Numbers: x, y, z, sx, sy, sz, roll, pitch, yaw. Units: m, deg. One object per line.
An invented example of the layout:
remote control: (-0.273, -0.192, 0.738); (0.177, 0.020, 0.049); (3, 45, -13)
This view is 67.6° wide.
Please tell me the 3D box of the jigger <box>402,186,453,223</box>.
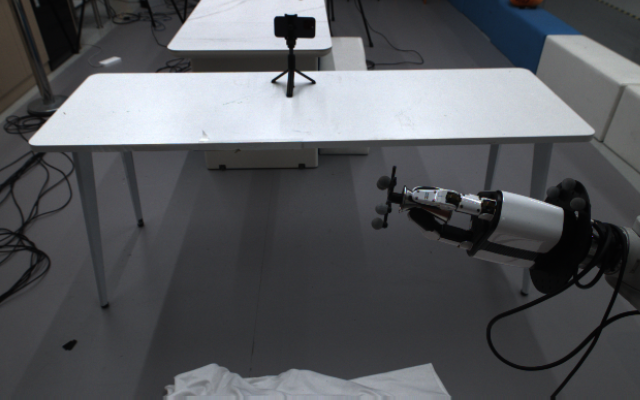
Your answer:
jigger: (0.153, 0.001, 0.672); (0.071, 0.043, 0.043); (11, 35, 3)
